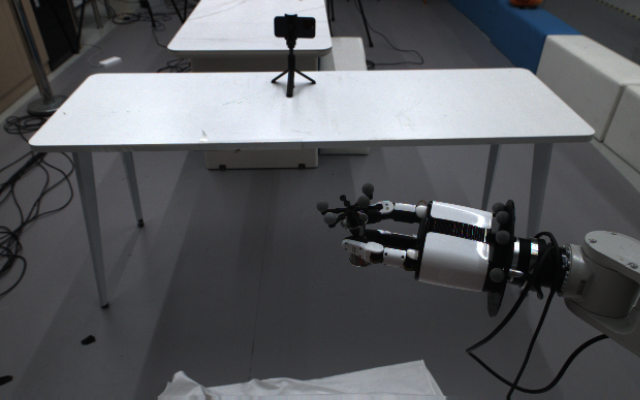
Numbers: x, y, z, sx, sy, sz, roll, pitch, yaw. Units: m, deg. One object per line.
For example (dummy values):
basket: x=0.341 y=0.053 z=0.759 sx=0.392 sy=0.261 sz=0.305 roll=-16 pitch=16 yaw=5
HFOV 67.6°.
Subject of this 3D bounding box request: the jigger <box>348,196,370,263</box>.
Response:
jigger: x=0.057 y=0.056 z=0.695 sx=0.043 sy=0.071 sz=0.043 roll=-12 pitch=29 yaw=7
